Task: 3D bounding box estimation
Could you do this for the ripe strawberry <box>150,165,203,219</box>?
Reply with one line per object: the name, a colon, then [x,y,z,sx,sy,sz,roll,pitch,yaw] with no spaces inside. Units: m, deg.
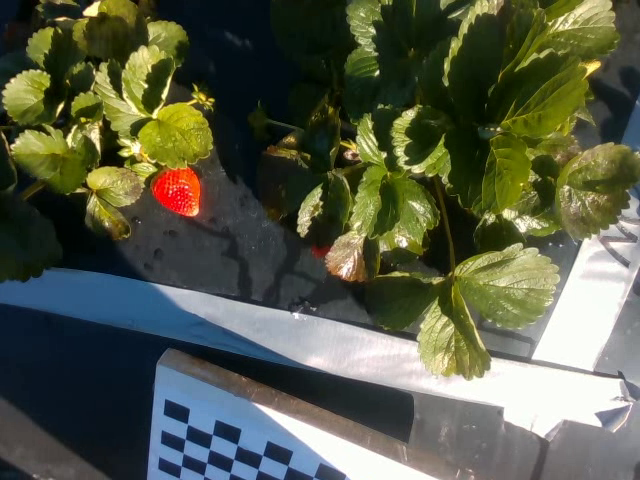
ripe strawberry: [-0.122,-0.040,0.524,0.045,0.059,0.042,-41,-5,37]
